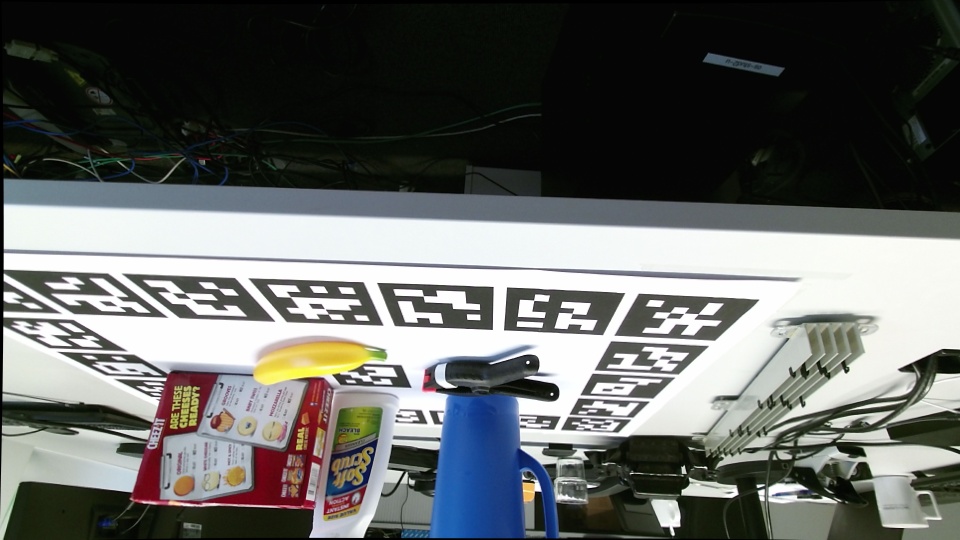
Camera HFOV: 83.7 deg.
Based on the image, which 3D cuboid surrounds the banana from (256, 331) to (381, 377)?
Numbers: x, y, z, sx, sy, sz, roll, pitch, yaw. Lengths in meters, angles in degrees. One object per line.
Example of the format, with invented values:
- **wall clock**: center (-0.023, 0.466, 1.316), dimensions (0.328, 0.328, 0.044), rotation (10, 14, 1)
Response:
- **banana**: center (-0.215, 0.104, 0.648), dimensions (0.198, 0.038, 0.074), rotation (-16, 146, 30)

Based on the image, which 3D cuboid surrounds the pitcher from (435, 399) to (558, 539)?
- **pitcher**: center (0.011, 0.303, 0.718), dimensions (0.189, 0.241, 0.133), rotation (-5, 151, 19)

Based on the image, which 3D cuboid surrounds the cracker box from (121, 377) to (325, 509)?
- **cracker box**: center (-0.330, 0.232, 0.716), dimensions (0.214, 0.163, 0.072), rotation (2, 154, -1)

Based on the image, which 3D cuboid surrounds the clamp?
- **clamp**: center (0.005, 0.131, 0.661), dimensions (0.165, 0.036, 0.122), rotation (-4, 152, 17)

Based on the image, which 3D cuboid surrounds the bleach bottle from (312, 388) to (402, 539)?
- **bleach bottle**: center (-0.176, 0.299, 0.766), dimensions (0.103, 0.249, 0.068), rotation (2, 152, 1)
